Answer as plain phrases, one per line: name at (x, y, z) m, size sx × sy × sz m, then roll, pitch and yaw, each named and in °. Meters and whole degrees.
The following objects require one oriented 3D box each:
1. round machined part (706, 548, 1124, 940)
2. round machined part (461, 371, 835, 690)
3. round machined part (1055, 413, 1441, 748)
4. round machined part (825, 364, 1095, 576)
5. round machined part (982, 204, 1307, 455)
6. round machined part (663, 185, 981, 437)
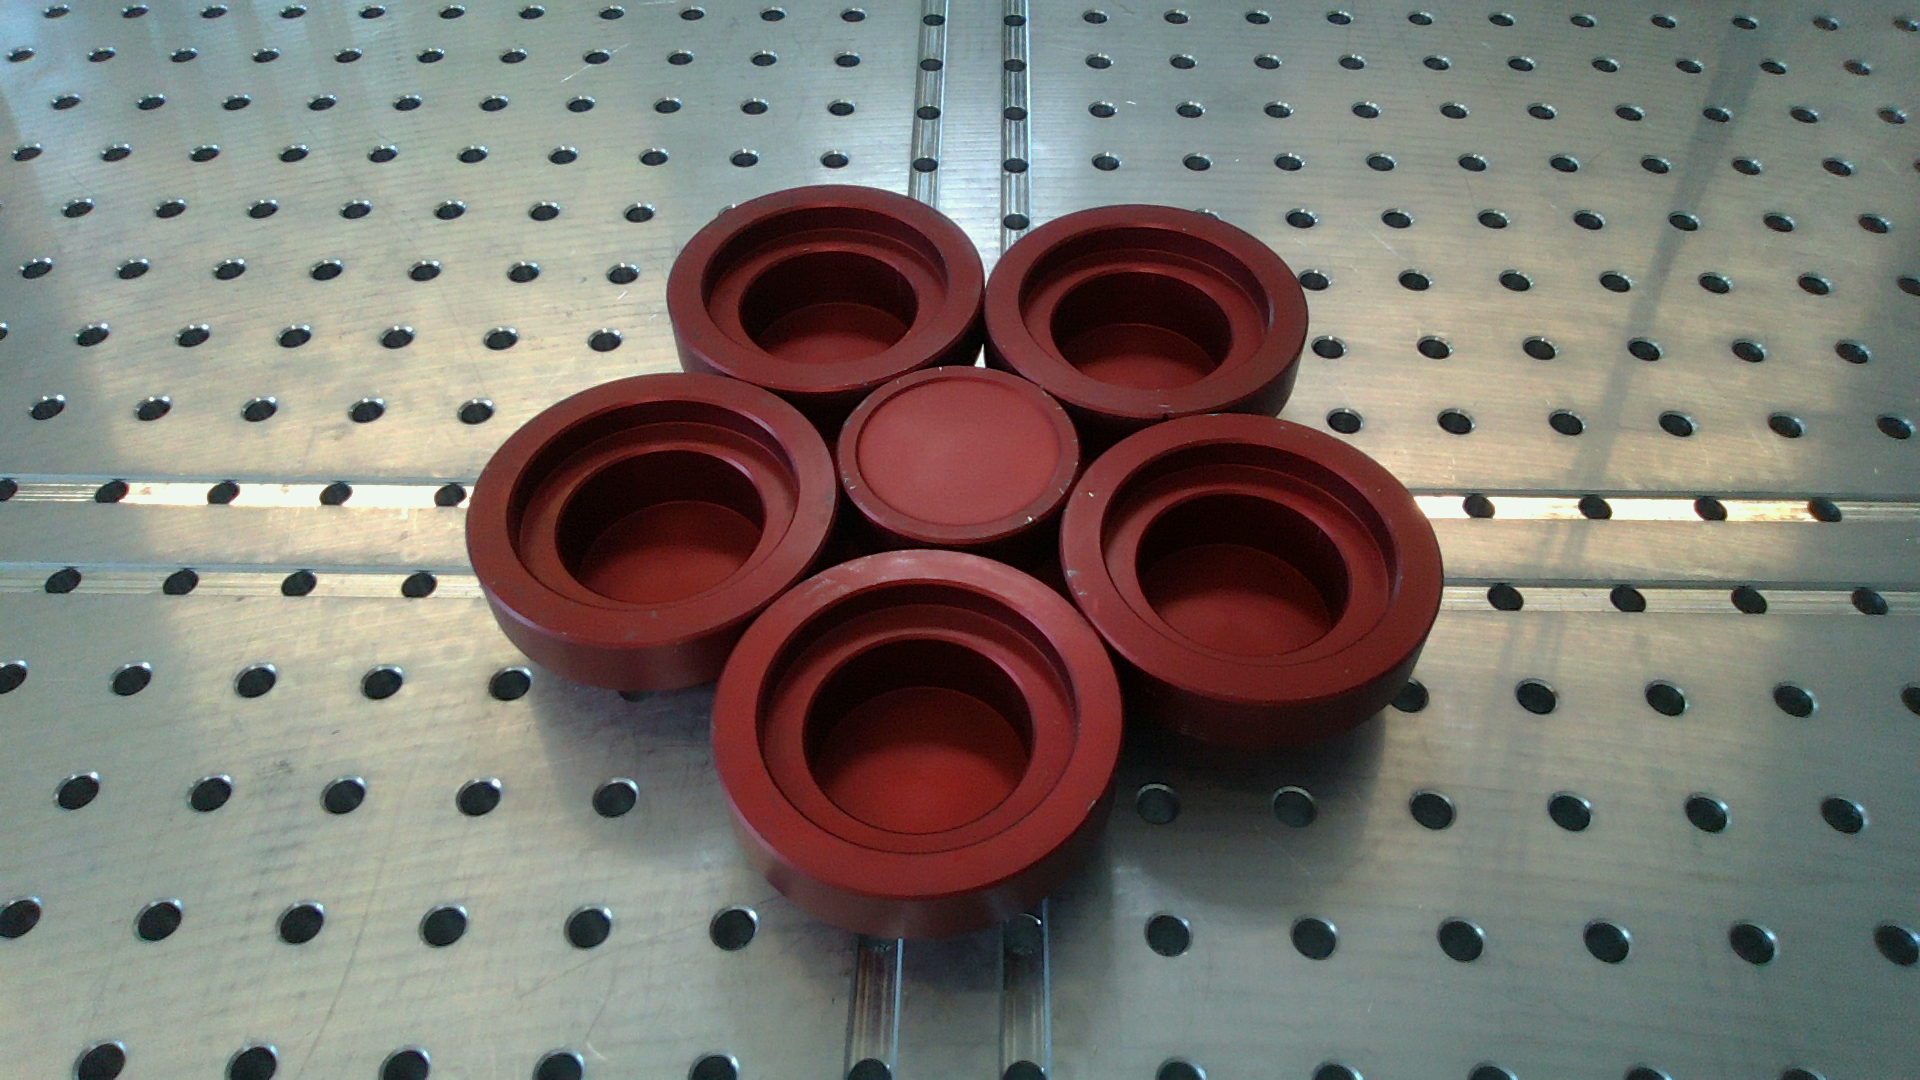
round machined part at (-0.010, 0.052, 0.339) m, size 0.098 × 0.042 × 0.098 m, roll 0°, pitch 50°, yaw 0°
round machined part at (-0.082, 0.001, 0.381) m, size 0.098 × 0.042 × 0.098 m, roll 0°, pitch 50°, yaw 0°
round machined part at (0.075, 0.014, 0.371) m, size 0.098 × 0.042 × 0.098 m, roll 0°, pitch 50°, yaw 0°
round machined part at (-0.001, -0.012, 0.393) m, size 0.098 × 0.042 × 0.098 m, roll 0°, pitch 50°, yaw 0°
round machined part at (0.056, -0.059, 0.433) m, size 0.098 × 0.042 × 0.098 m, roll 0°, pitch 50°, yaw 0°
round machined part at (-0.042, -0.067, 0.440) m, size 0.098 × 0.042 × 0.098 m, roll 0°, pitch 50°, yaw 0°
